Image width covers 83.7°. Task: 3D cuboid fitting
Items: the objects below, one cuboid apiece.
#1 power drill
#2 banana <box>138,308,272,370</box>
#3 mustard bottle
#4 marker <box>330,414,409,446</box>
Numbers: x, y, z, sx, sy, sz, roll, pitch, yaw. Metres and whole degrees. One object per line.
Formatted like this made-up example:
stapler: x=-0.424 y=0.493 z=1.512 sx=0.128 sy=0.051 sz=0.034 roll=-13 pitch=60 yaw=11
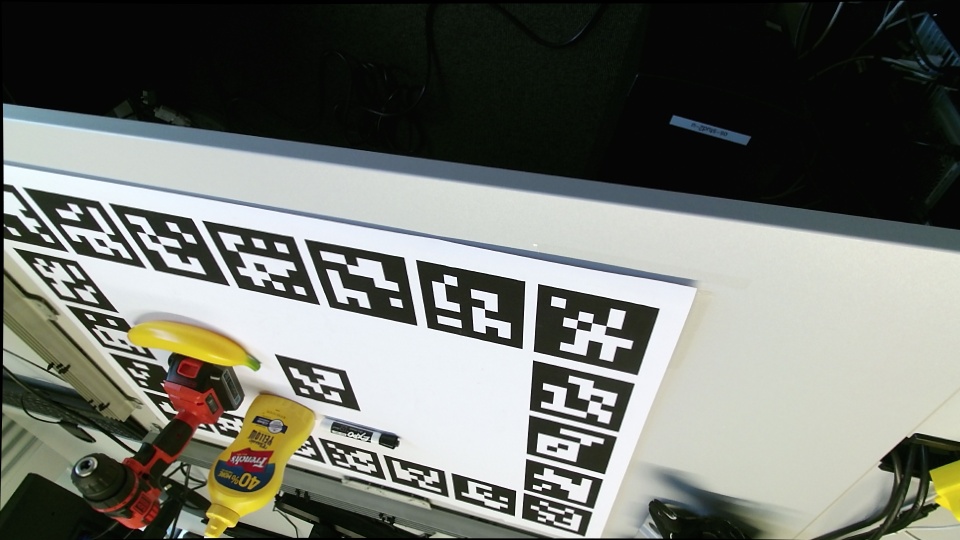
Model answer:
power drill: x=-0.417 y=0.212 z=0.725 sx=0.057 sy=0.186 sz=0.185 roll=21 pitch=137 yaw=4
banana: x=-0.382 y=0.087 z=0.731 sx=0.198 sy=0.039 sz=0.074 roll=15 pitch=133 yaw=5
mustard bottle: x=-0.310 y=0.267 z=0.760 sx=0.096 sy=0.191 sz=0.058 roll=19 pitch=135 yaw=5
marker: x=-0.165 y=0.241 z=0.801 sx=0.121 sy=0.019 sz=0.019 roll=12 pitch=133 yaw=10
